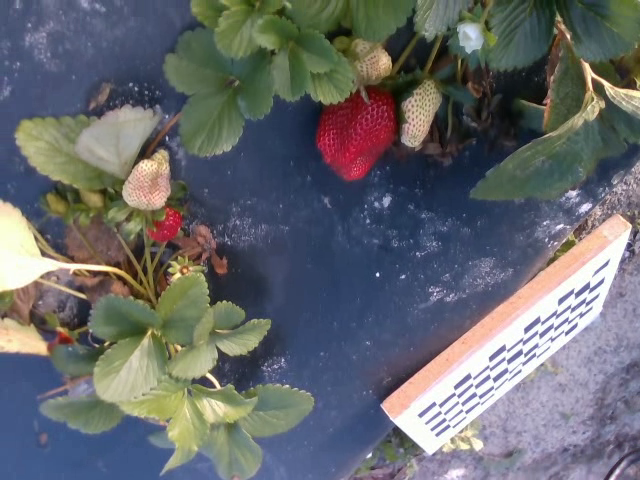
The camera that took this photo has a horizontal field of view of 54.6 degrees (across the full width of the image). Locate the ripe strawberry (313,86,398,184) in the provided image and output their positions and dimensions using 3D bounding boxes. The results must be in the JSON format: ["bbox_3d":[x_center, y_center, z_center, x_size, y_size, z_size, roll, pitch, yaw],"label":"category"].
[{"bbox_3d":[0.024,-0.069,0.411,0.057,0.070,0.058,24,-26,22],"label":"ripe strawberry"}]
